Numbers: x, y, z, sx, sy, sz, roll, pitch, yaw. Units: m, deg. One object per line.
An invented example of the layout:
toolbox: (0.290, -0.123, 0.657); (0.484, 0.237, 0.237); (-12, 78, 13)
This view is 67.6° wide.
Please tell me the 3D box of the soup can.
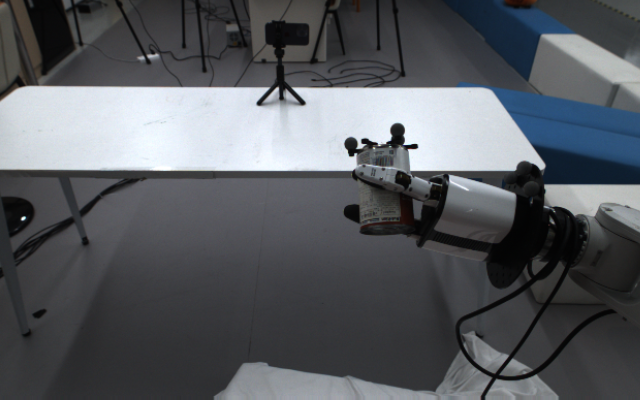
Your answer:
soup can: (0.083, -0.013, 0.602); (0.067, 0.067, 0.101); (-2, 76, -6)
